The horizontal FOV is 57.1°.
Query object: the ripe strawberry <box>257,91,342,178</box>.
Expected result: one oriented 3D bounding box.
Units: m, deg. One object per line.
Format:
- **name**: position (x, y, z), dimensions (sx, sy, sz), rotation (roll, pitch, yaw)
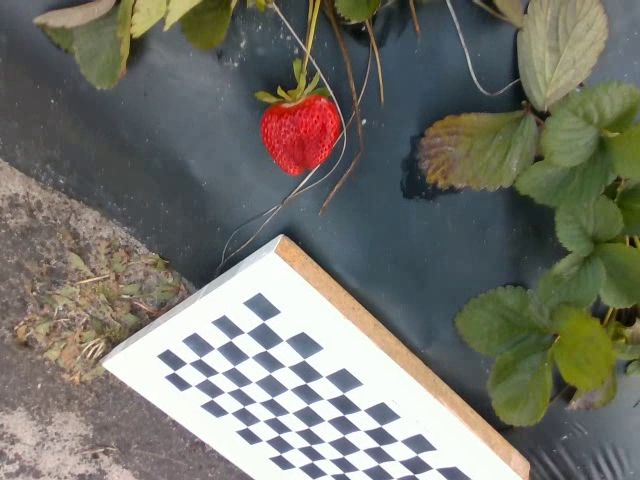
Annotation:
- **ripe strawberry**: position (-0.004, -0.017, 0.098), dimensions (0.017, 0.015, 0.013), rotation (-8, -9, 29)
